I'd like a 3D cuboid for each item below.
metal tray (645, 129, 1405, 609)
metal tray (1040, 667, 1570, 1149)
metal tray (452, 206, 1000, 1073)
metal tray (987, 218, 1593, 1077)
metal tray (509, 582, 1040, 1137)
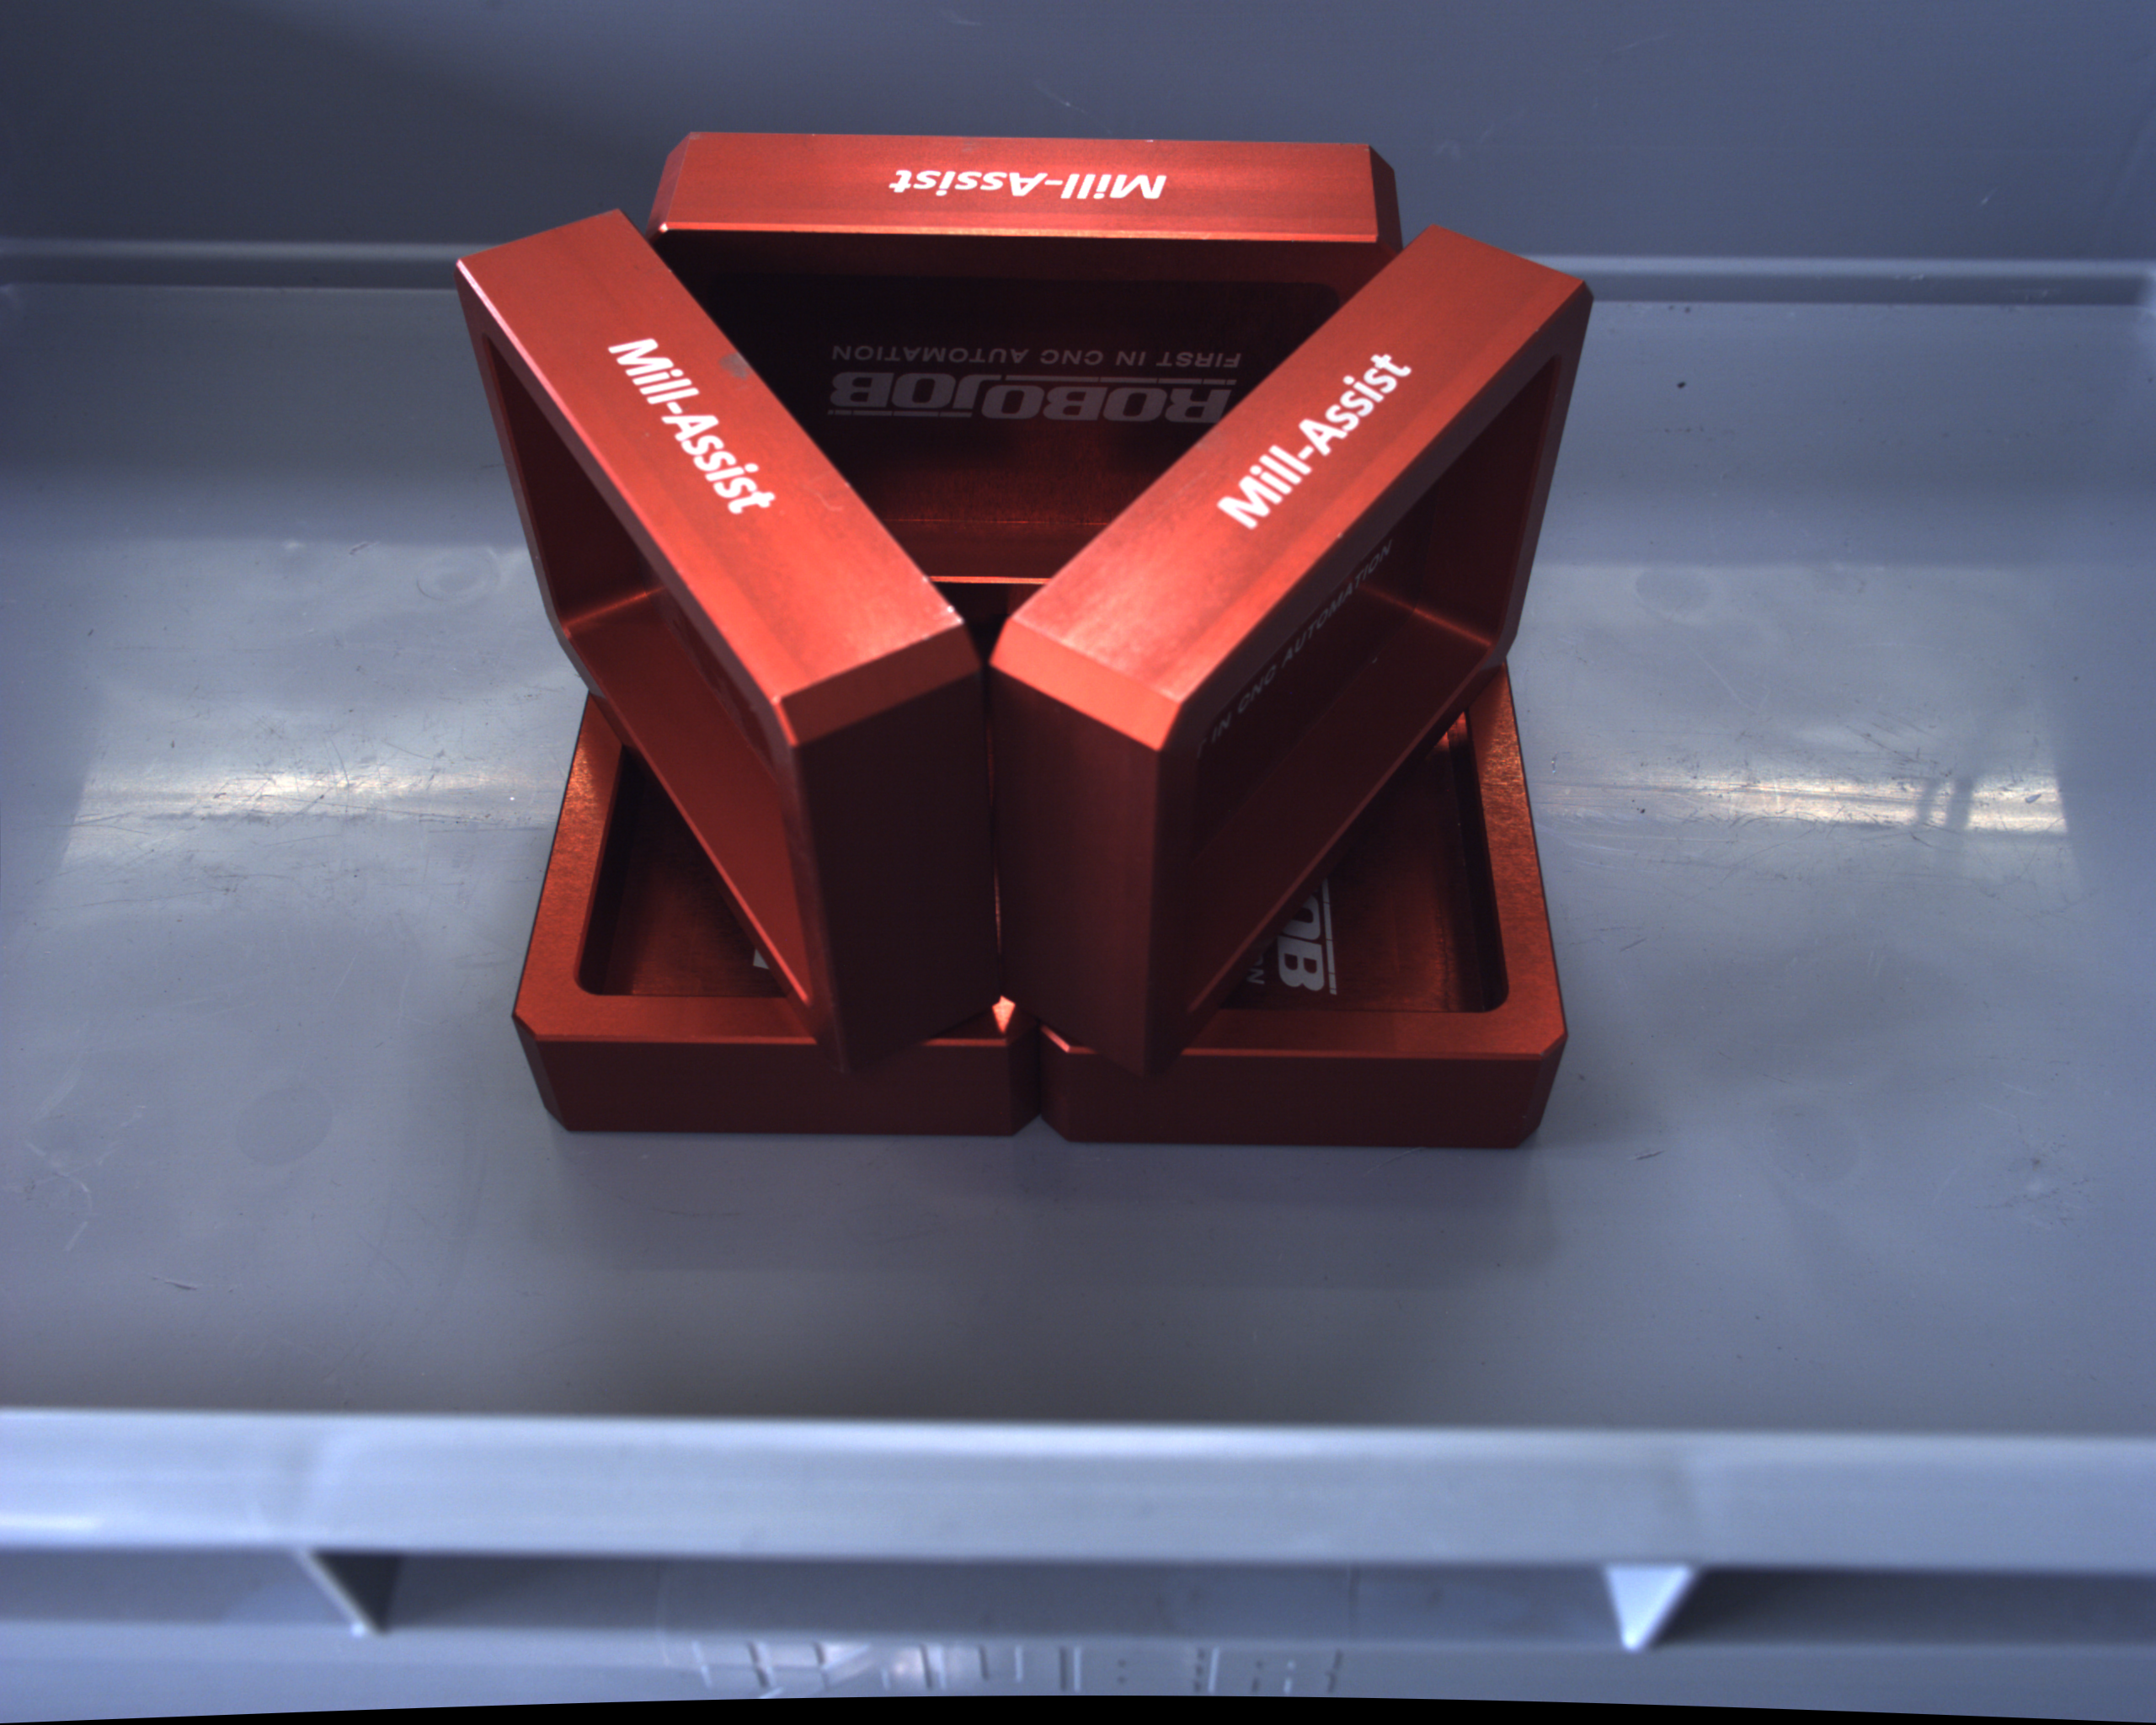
[{"bbox_3d":[-0.009,-0.090,0.396,0.131,0.090,0.030,1,51,1],"label":"metal tray"},{"bbox_3d":[0.040,-0.007,0.407,0.091,0.030,0.130,1,49,1],"label":"metal tray"},{"bbox_3d":[-0.060,-0.039,0.353,0.030,0.090,0.130,-25,55,-19],"label":"metal tray"},{"bbox_3d":[0.037,-0.037,0.352,0.030,0.090,0.131,29,56,22],"label":"metal tray"},{"bbox_3d":[-0.052,-0.009,0.408,0.091,0.030,0.130,0,49,0],"label":"metal tray"}]
